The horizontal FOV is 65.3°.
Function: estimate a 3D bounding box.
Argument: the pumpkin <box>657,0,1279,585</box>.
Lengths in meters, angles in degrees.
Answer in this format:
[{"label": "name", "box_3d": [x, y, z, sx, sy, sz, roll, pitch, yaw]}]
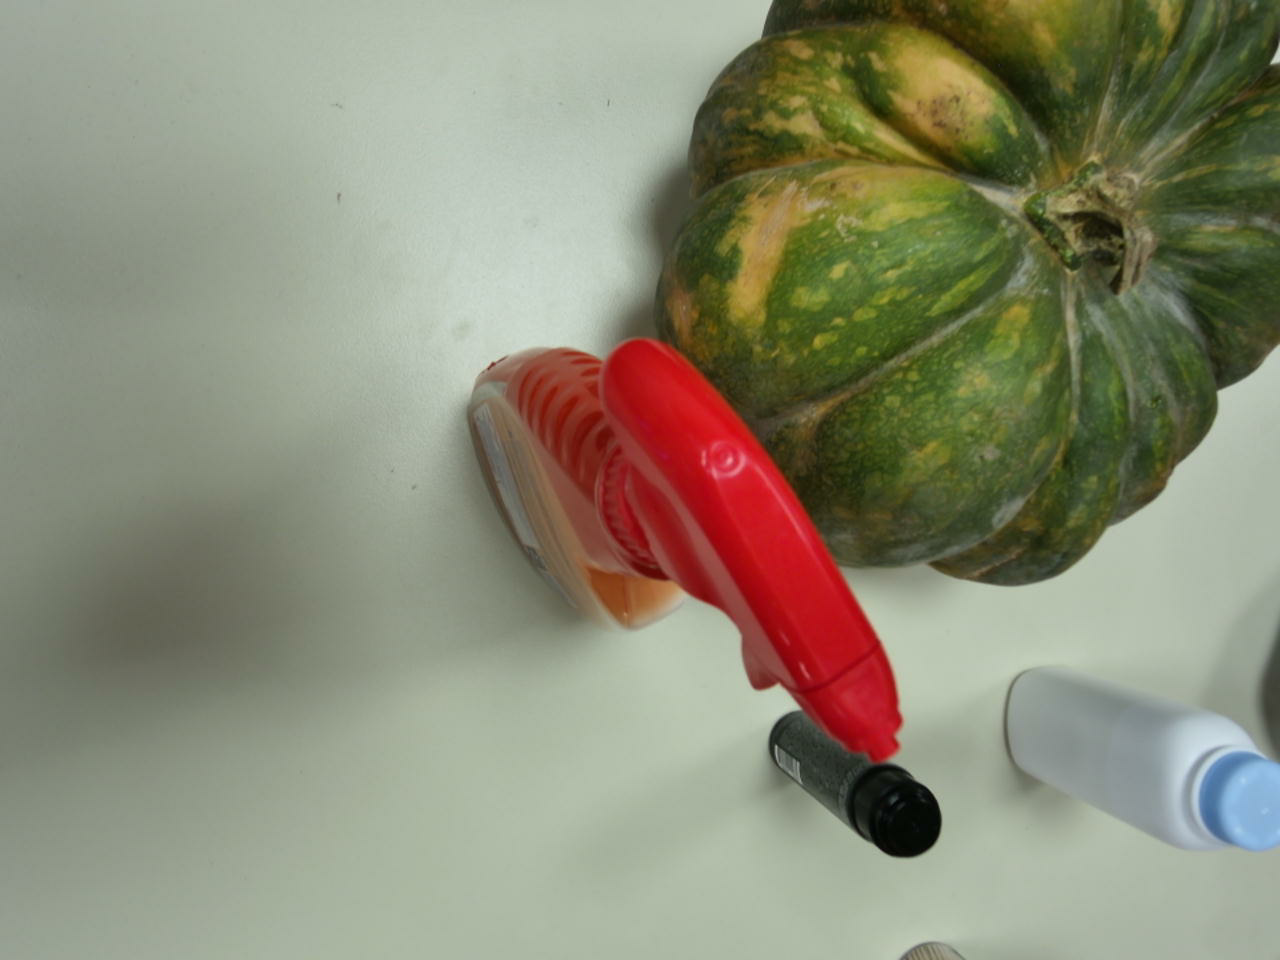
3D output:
[{"label": "pumpkin", "box_3d": [0.133, -0.089, 0.376, 0.237, 0.173, 0.270, 28, 85, -11]}]
